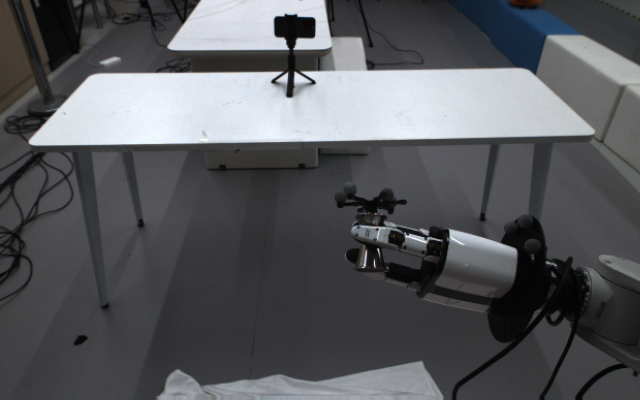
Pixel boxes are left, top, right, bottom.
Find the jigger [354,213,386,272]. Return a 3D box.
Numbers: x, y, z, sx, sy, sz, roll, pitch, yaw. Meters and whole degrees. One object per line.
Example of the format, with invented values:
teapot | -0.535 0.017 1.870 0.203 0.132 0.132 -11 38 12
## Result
jigger | 0.062 0.052 0.599 0.043 0.043 0.071 3 76 1
